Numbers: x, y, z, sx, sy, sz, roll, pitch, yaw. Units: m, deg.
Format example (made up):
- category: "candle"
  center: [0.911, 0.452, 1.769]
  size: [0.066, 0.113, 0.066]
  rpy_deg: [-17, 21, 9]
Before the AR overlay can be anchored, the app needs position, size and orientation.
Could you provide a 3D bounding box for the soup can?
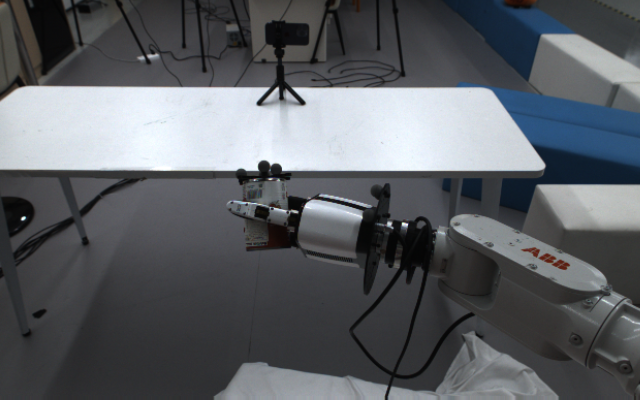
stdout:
- category: "soup can"
  center: [-0.077, 0.023, 0.710]
  size: [0.067, 0.101, 0.067]
  rpy_deg: [-5, -5, 0]
